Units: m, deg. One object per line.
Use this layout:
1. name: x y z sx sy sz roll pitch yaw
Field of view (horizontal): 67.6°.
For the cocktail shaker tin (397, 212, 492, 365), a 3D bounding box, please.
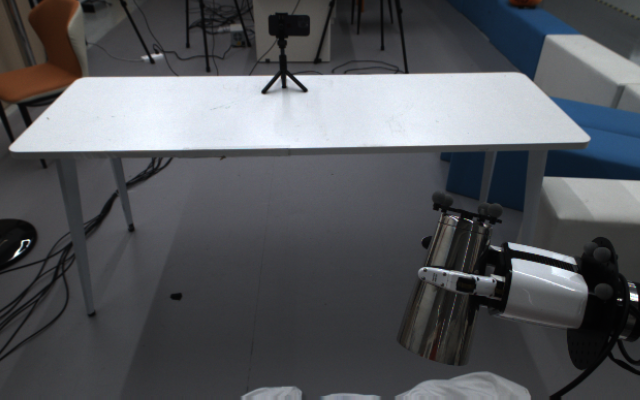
1. cocktail shaker tin: 0.162 0.106 0.610 0.093 0.170 0.093 15 2 0
